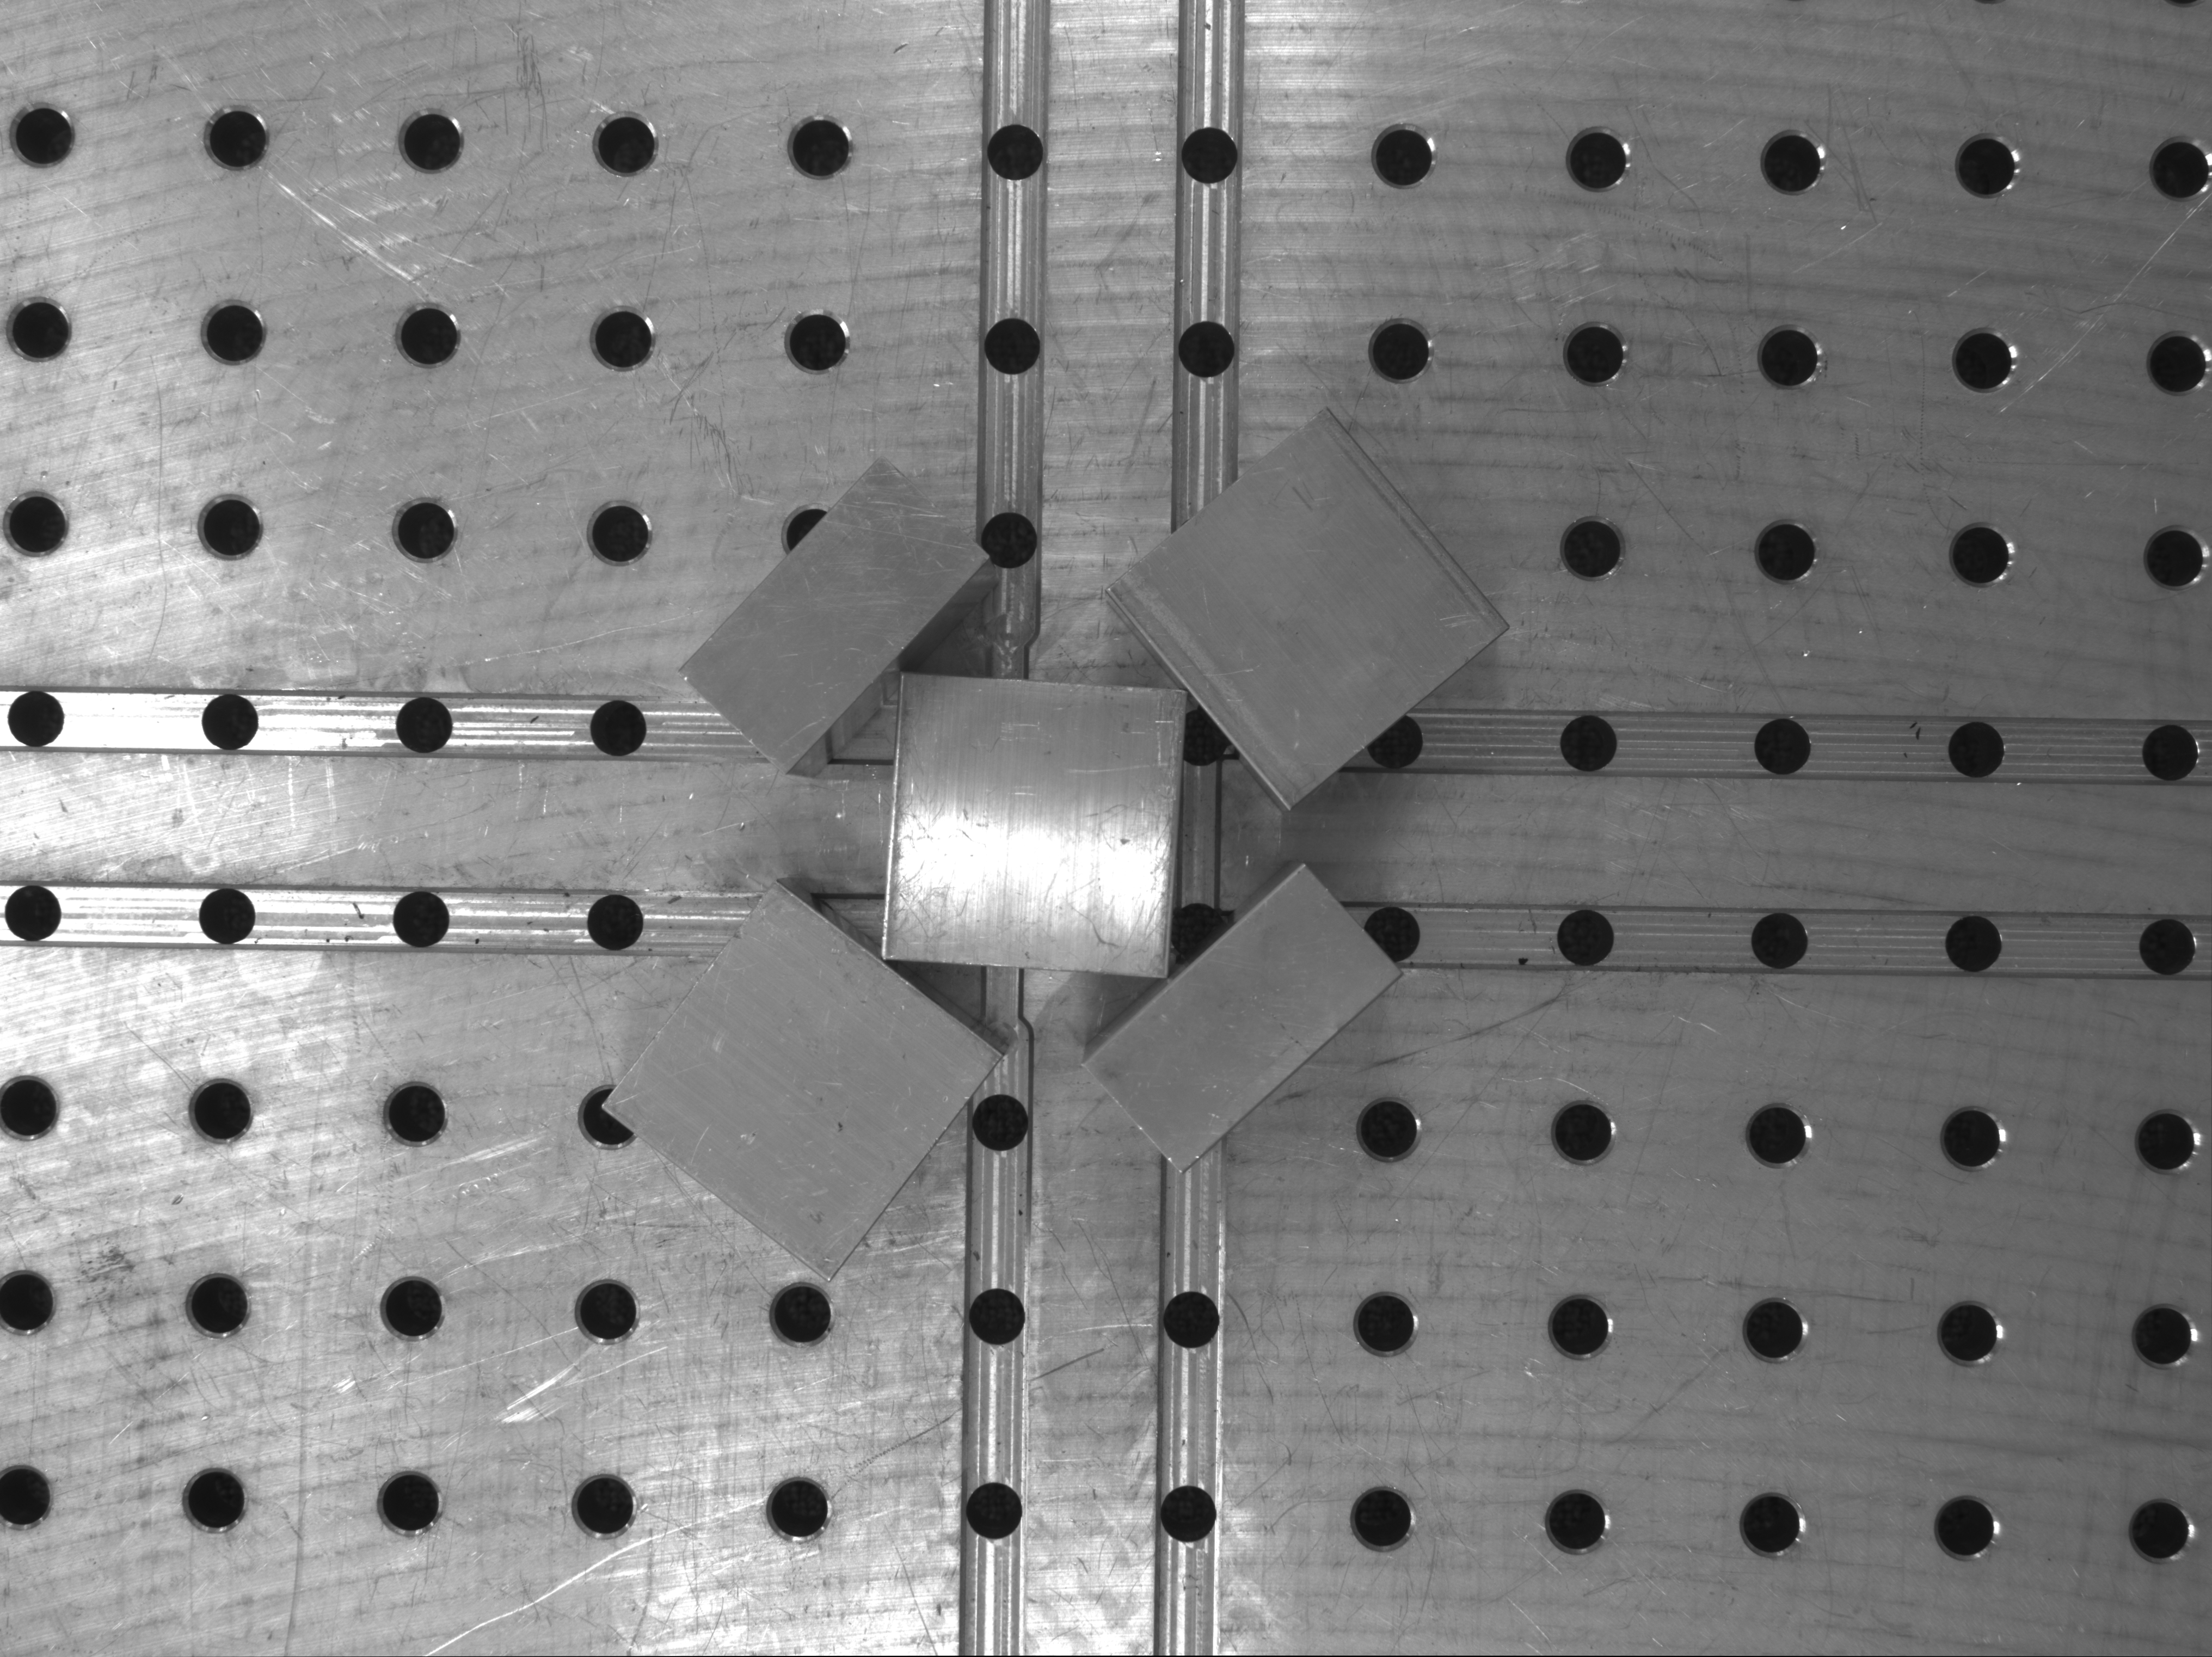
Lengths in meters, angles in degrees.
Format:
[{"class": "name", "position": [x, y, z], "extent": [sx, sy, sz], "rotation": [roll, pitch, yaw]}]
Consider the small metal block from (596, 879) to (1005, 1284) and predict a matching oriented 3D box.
[{"class": "small metal block", "position": [-0.053, 0.044, 0.648], "extent": [0.050, 0.025, 0.050], "rotation": [38, 90, 0]}]

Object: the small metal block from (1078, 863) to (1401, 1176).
[{"class": "small metal block", "position": [0.022, 0.032, 0.636], "extent": [0.050, 0.050, 0.025], "rotation": [-42, 89, 0]}]

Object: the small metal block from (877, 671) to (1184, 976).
[{"class": "small metal block", "position": [-0.013, -0.001, 0.648], "extent": [0.050, 0.025, 0.050], "rotation": [4, 89, 1]}]

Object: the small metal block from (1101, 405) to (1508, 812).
[{"class": "small metal block", "position": [0.034, -0.038, 0.648], "extent": [0.050, 0.025, 0.050], "rotation": [-40, 90, 0]}]

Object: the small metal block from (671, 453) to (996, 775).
[{"class": "small metal block", "position": [-0.046, -0.036, 0.635], "extent": [0.025, 0.050, 0.050], "rotation": [44, 91, 0]}]
